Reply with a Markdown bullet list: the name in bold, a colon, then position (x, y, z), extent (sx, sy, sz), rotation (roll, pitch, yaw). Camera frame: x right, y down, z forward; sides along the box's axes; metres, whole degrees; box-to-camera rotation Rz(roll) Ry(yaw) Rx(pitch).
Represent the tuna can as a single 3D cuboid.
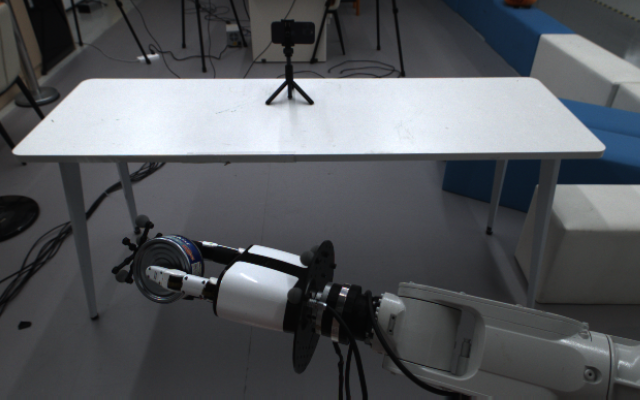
- **tuna can**: position (-0.192, 0.087, 0.618), extent (0.085, 0.085, 0.034), rotation (12, 5, 14)
